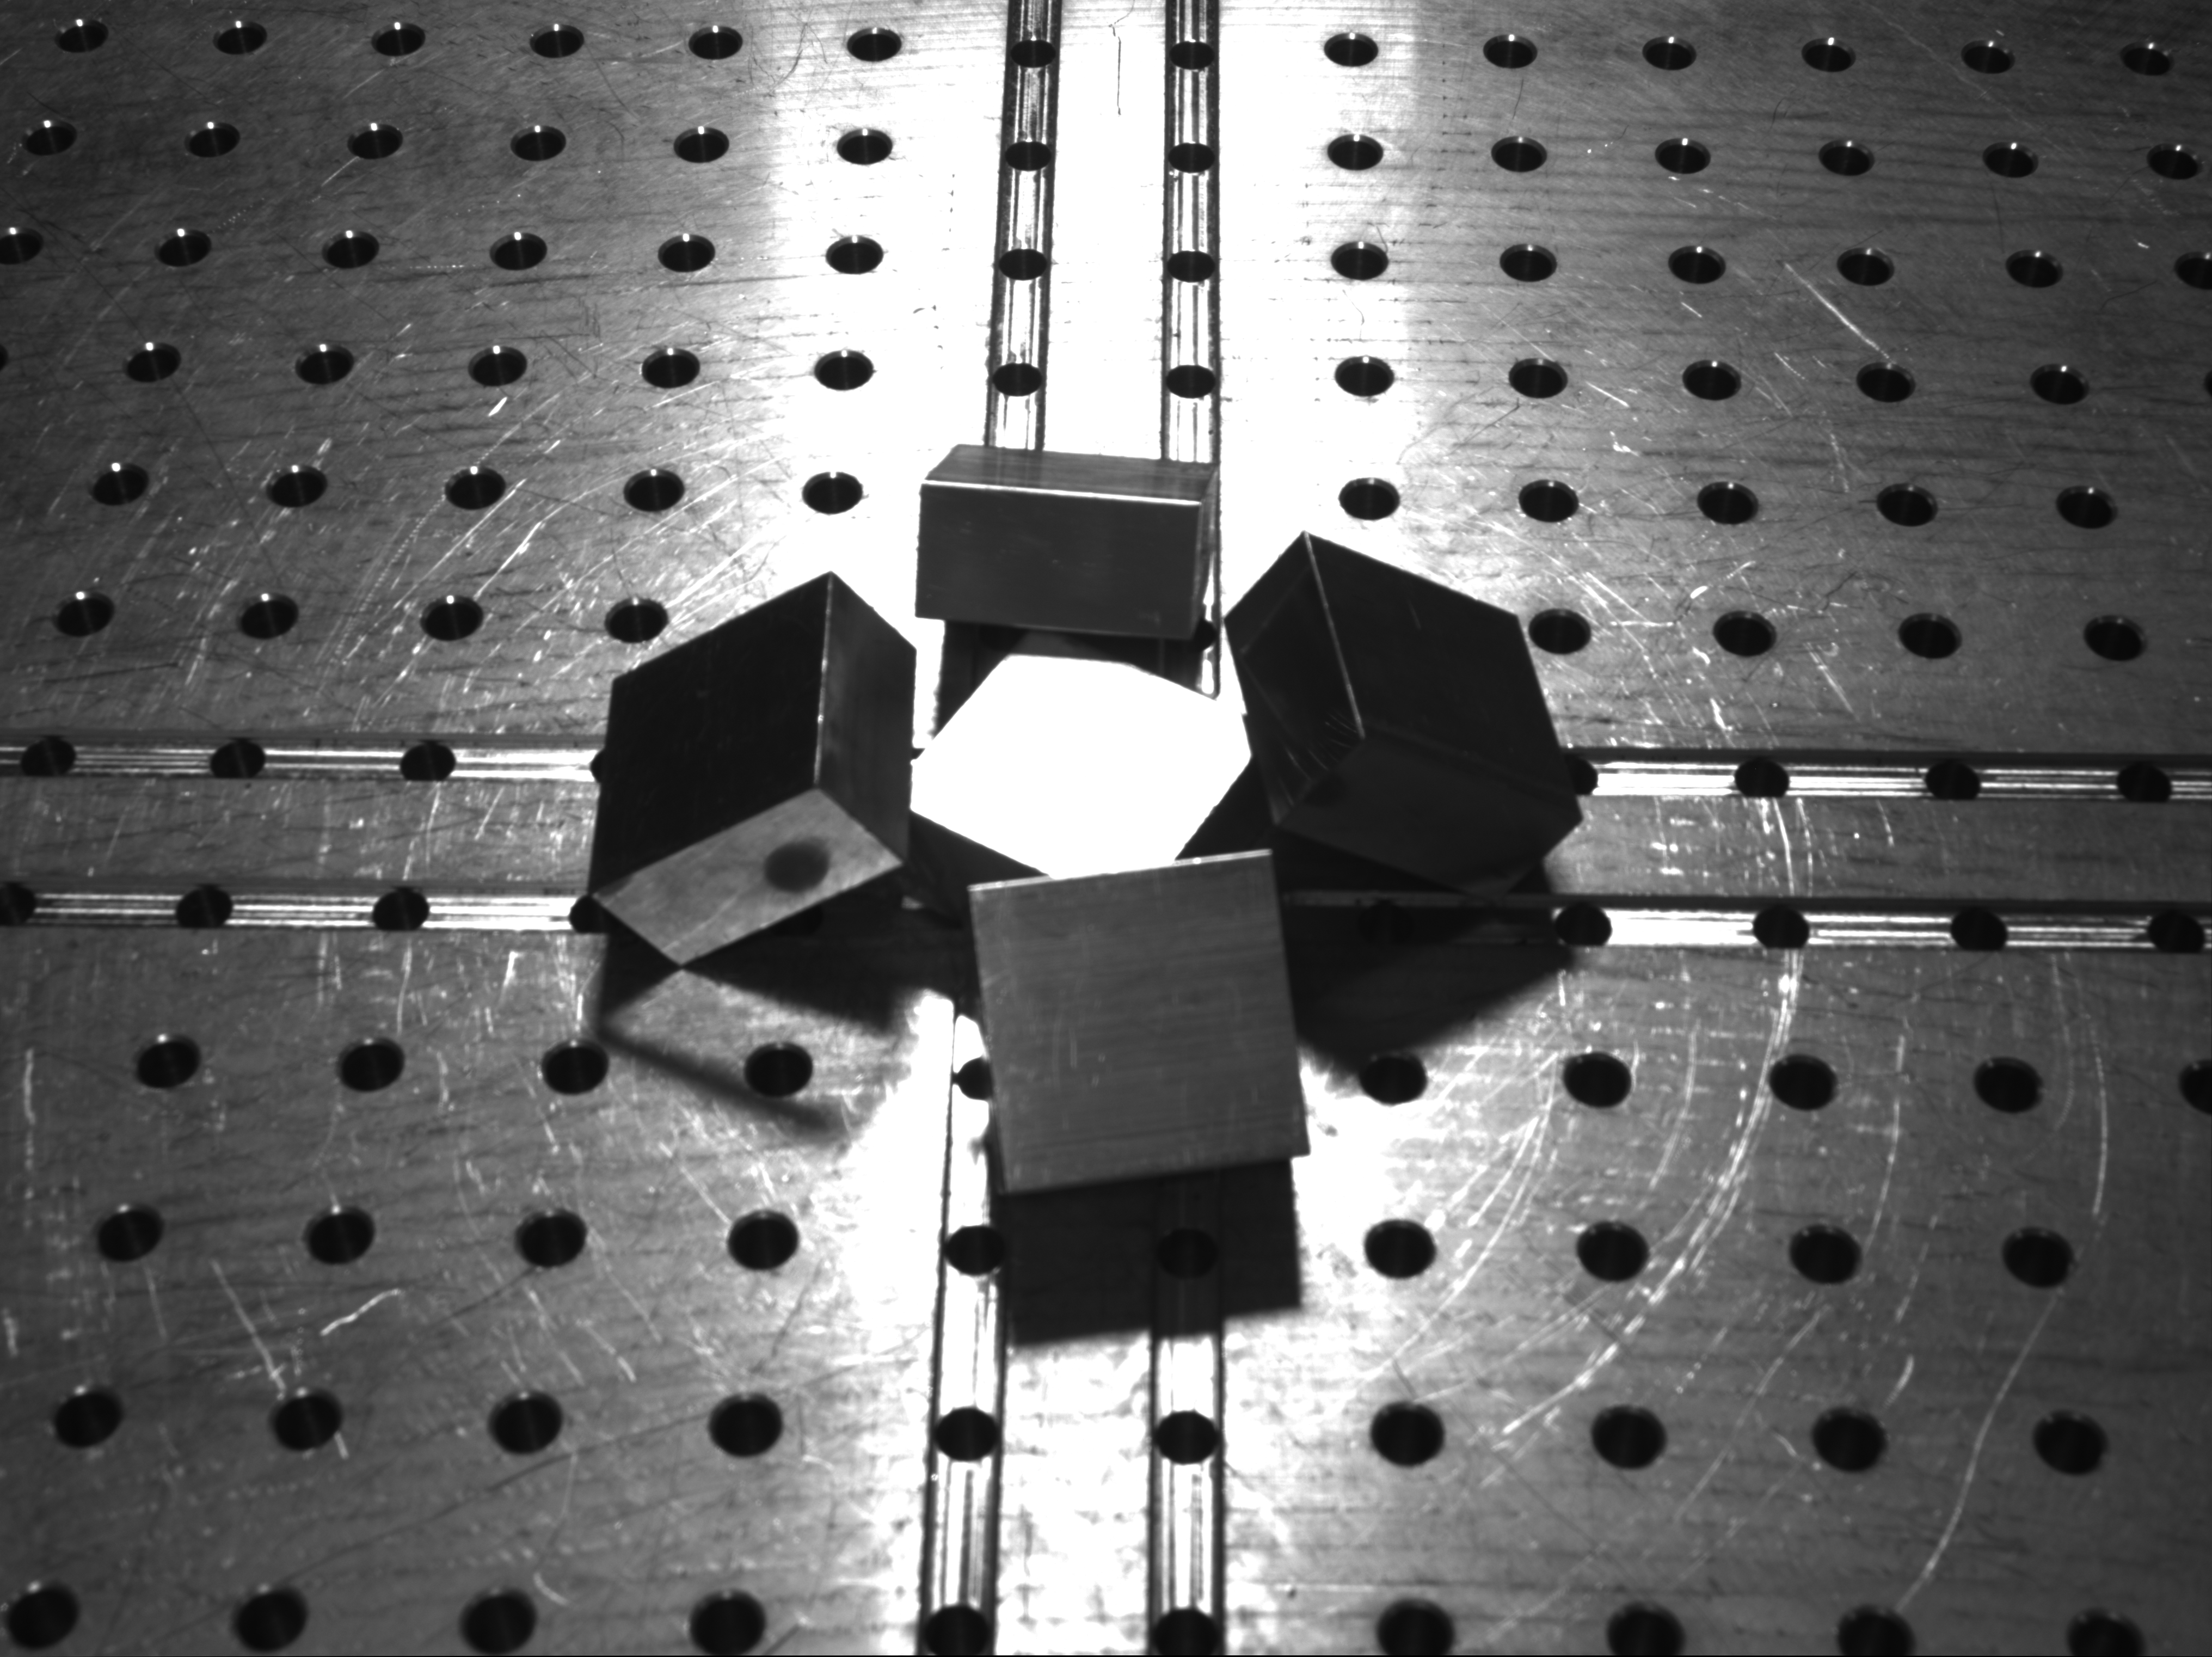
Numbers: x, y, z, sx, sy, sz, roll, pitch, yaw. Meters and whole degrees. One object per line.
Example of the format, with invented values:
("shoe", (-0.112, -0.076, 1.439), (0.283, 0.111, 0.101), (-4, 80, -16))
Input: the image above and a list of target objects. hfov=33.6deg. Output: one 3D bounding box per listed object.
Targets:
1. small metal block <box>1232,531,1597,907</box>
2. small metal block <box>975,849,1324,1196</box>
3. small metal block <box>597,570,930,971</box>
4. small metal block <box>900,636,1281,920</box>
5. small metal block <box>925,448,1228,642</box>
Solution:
("small metal block", (0.054, -0.019, 0.646), (0.050, 0.025, 0.050), (18, 41, -31))
("small metal block", (0.006, 0.032, 0.602), (0.050, 0.025, 0.050), (-7, 86, -6))
("small metal block", (-0.059, -0.010, 0.638), (0.050, 0.025, 0.050), (-24, 44, 26))
("small metal block", (-0.002, -0.003, 0.648), (0.050, 0.025, 0.050), (25, 54, 20))
("small metal block", (-0.004, -0.053, 0.674), (0.050, 0.025, 0.050), (5, 14, 4))
